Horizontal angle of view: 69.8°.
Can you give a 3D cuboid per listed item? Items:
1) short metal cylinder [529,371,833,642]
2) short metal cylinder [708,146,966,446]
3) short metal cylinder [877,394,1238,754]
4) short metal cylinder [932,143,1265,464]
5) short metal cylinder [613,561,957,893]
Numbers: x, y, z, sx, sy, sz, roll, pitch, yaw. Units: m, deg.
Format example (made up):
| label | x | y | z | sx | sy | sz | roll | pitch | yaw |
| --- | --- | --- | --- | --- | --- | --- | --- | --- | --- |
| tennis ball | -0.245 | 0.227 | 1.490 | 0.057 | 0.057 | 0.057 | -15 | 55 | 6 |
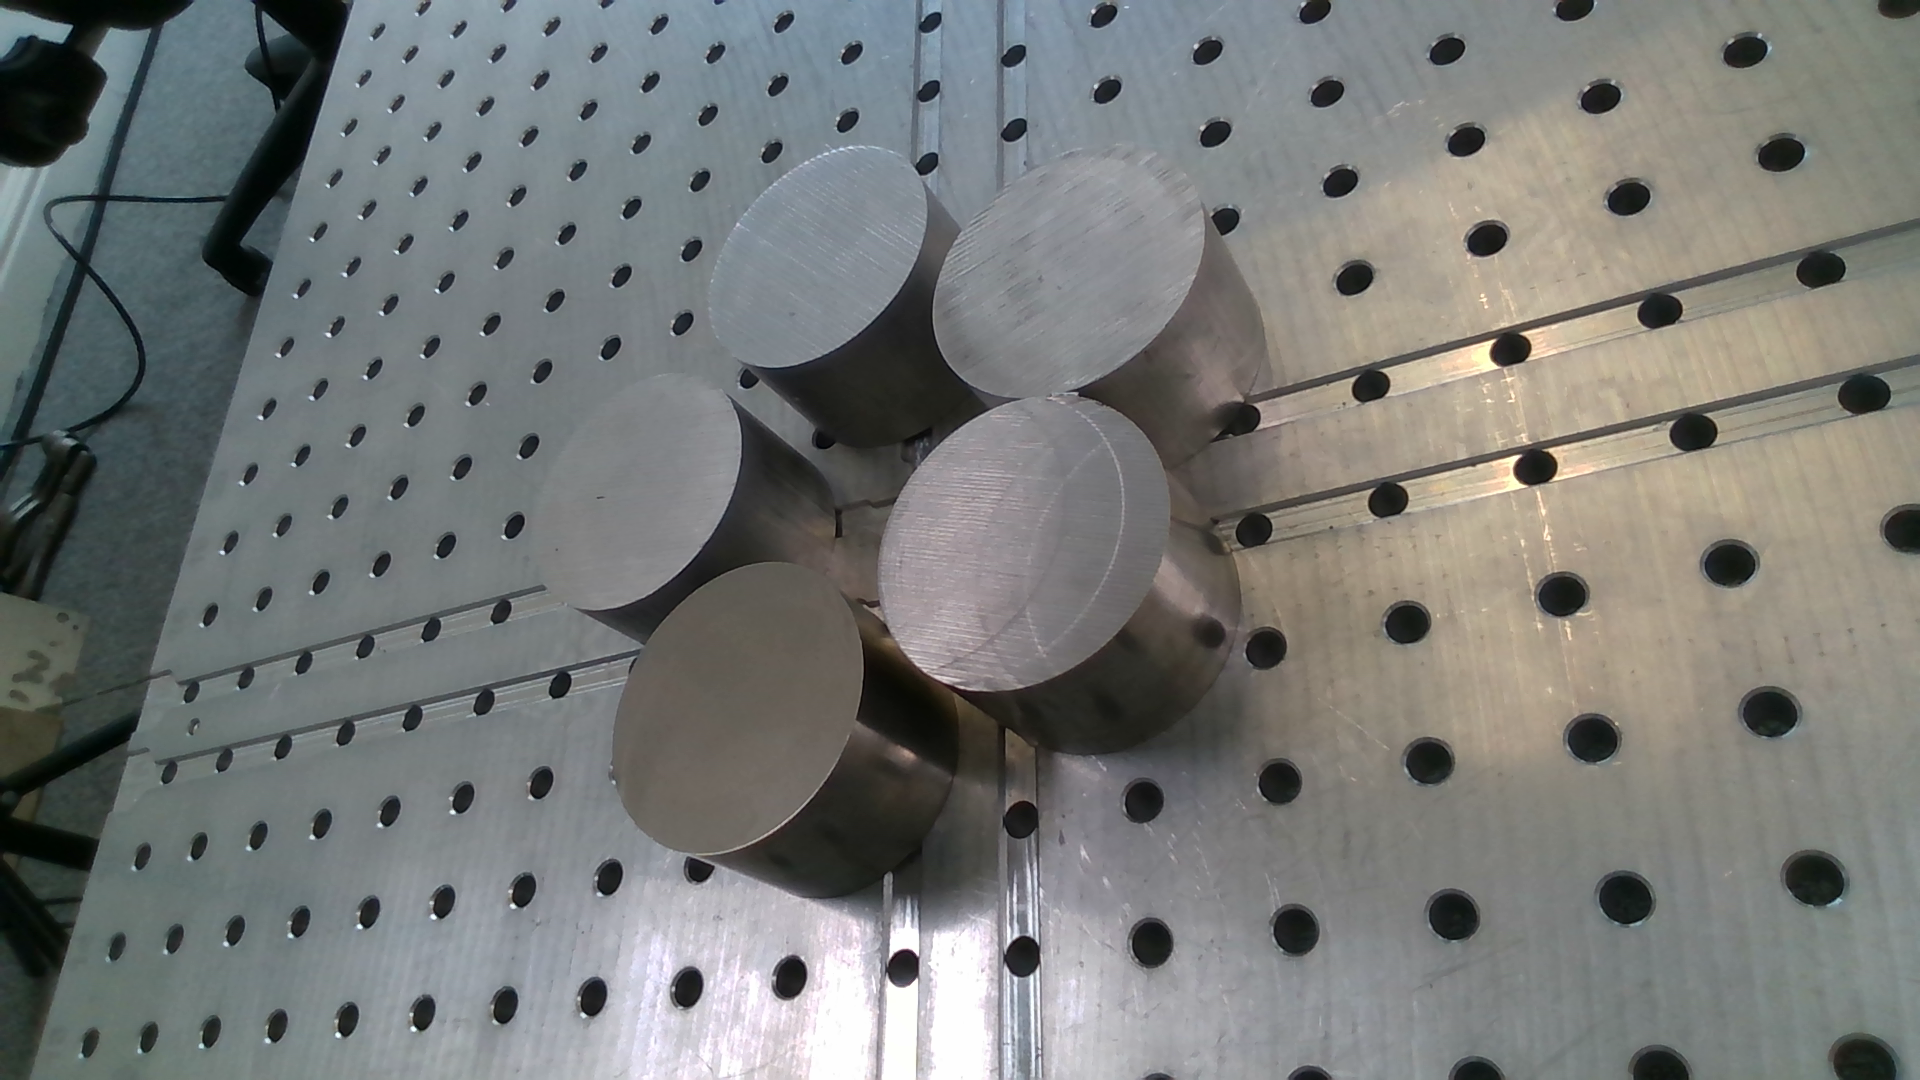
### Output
| label | x | y | z | sx | sy | sz | roll | pitch | yaw |
| --- | --- | --- | --- | --- | --- | --- | --- | --- | --- |
| short metal cylinder | -0.088 | -0.006 | 0.435 | 0.080 | 0.050 | 0.080 | -14 | 58 | 24 |
| short metal cylinder | -0.033 | -0.077 | 0.440 | 0.080 | 0.050 | 0.080 | -14 | 59 | 25 |
| short metal cylinder | 0.026 | 0.010 | 0.357 | 0.080 | 0.050 | 0.080 | -15 | 59 | 25 |
| short metal cylinder | 0.039 | -0.063 | 0.388 | 0.080 | 0.050 | 0.080 | -14 | 59 | 25 |
| short metal cylinder | -0.048 | 0.053 | 0.380 | 0.080 | 0.050 | 0.080 | -15 | 59 | 26 |
